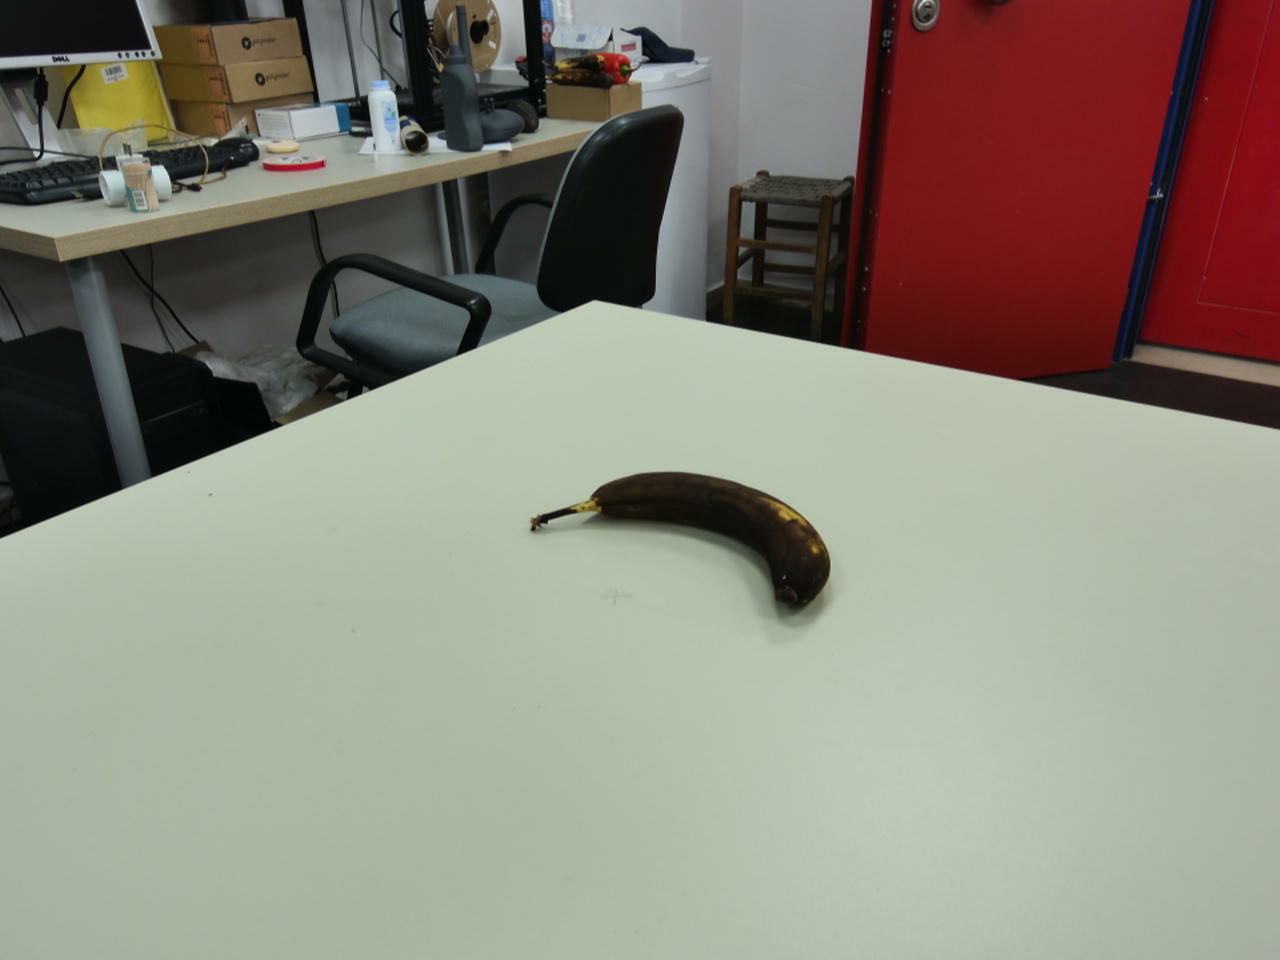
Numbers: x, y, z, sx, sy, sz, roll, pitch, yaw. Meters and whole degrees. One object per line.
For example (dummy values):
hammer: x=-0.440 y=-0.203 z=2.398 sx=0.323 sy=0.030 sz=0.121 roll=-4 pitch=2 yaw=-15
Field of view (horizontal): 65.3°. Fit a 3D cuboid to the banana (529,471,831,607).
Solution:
banana: x=0.034 y=0.024 z=0.593 sx=0.188 sy=0.034 sz=0.091 roll=17 pitch=31 yaw=33
